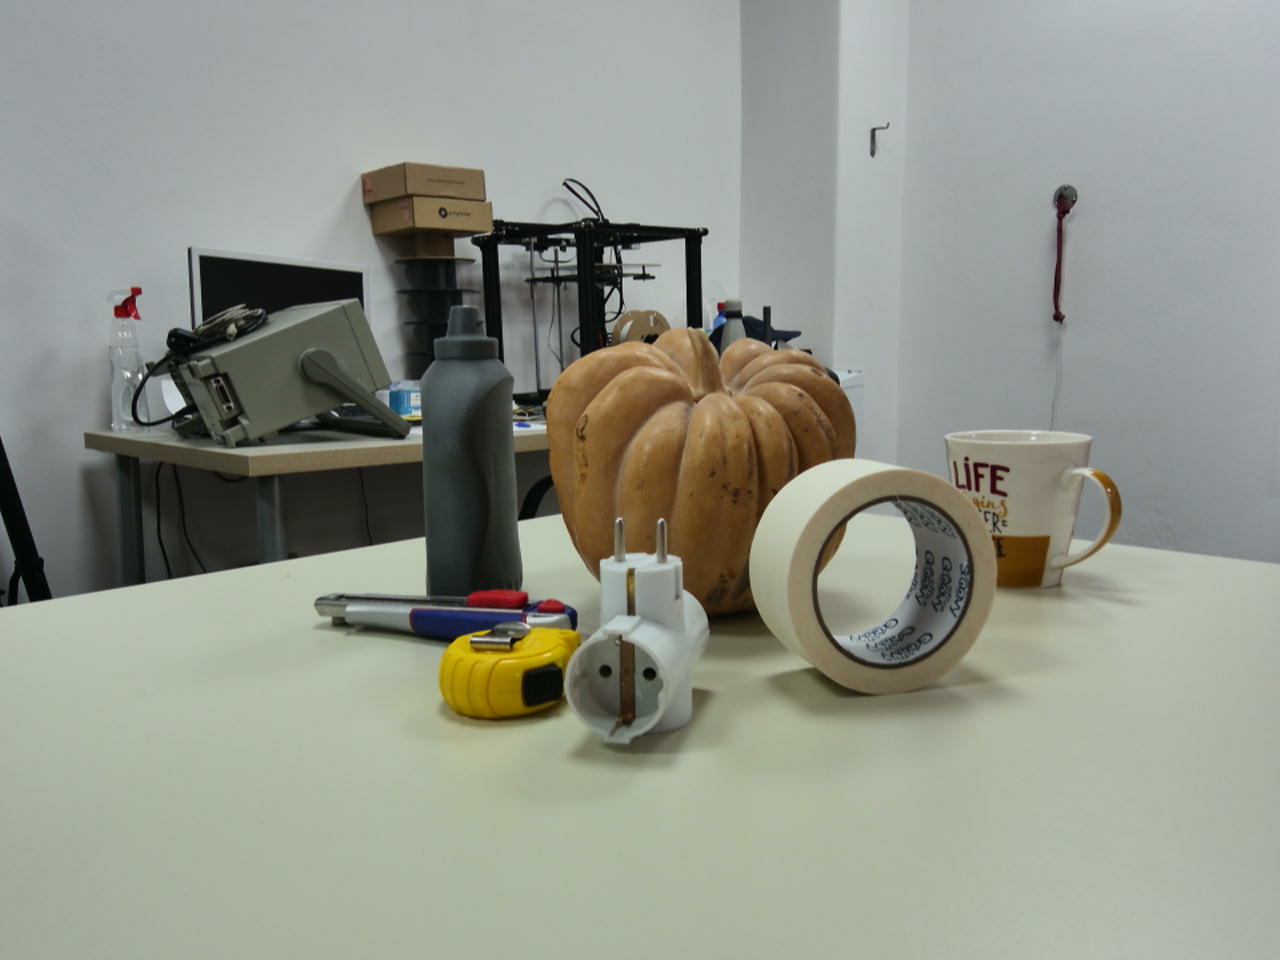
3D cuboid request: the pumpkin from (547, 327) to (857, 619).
[{"bbox_3d":[0.037,-0.006,0.626,0.199,0.177,0.198,-1,6,0],"label":"pumpkin"}]
